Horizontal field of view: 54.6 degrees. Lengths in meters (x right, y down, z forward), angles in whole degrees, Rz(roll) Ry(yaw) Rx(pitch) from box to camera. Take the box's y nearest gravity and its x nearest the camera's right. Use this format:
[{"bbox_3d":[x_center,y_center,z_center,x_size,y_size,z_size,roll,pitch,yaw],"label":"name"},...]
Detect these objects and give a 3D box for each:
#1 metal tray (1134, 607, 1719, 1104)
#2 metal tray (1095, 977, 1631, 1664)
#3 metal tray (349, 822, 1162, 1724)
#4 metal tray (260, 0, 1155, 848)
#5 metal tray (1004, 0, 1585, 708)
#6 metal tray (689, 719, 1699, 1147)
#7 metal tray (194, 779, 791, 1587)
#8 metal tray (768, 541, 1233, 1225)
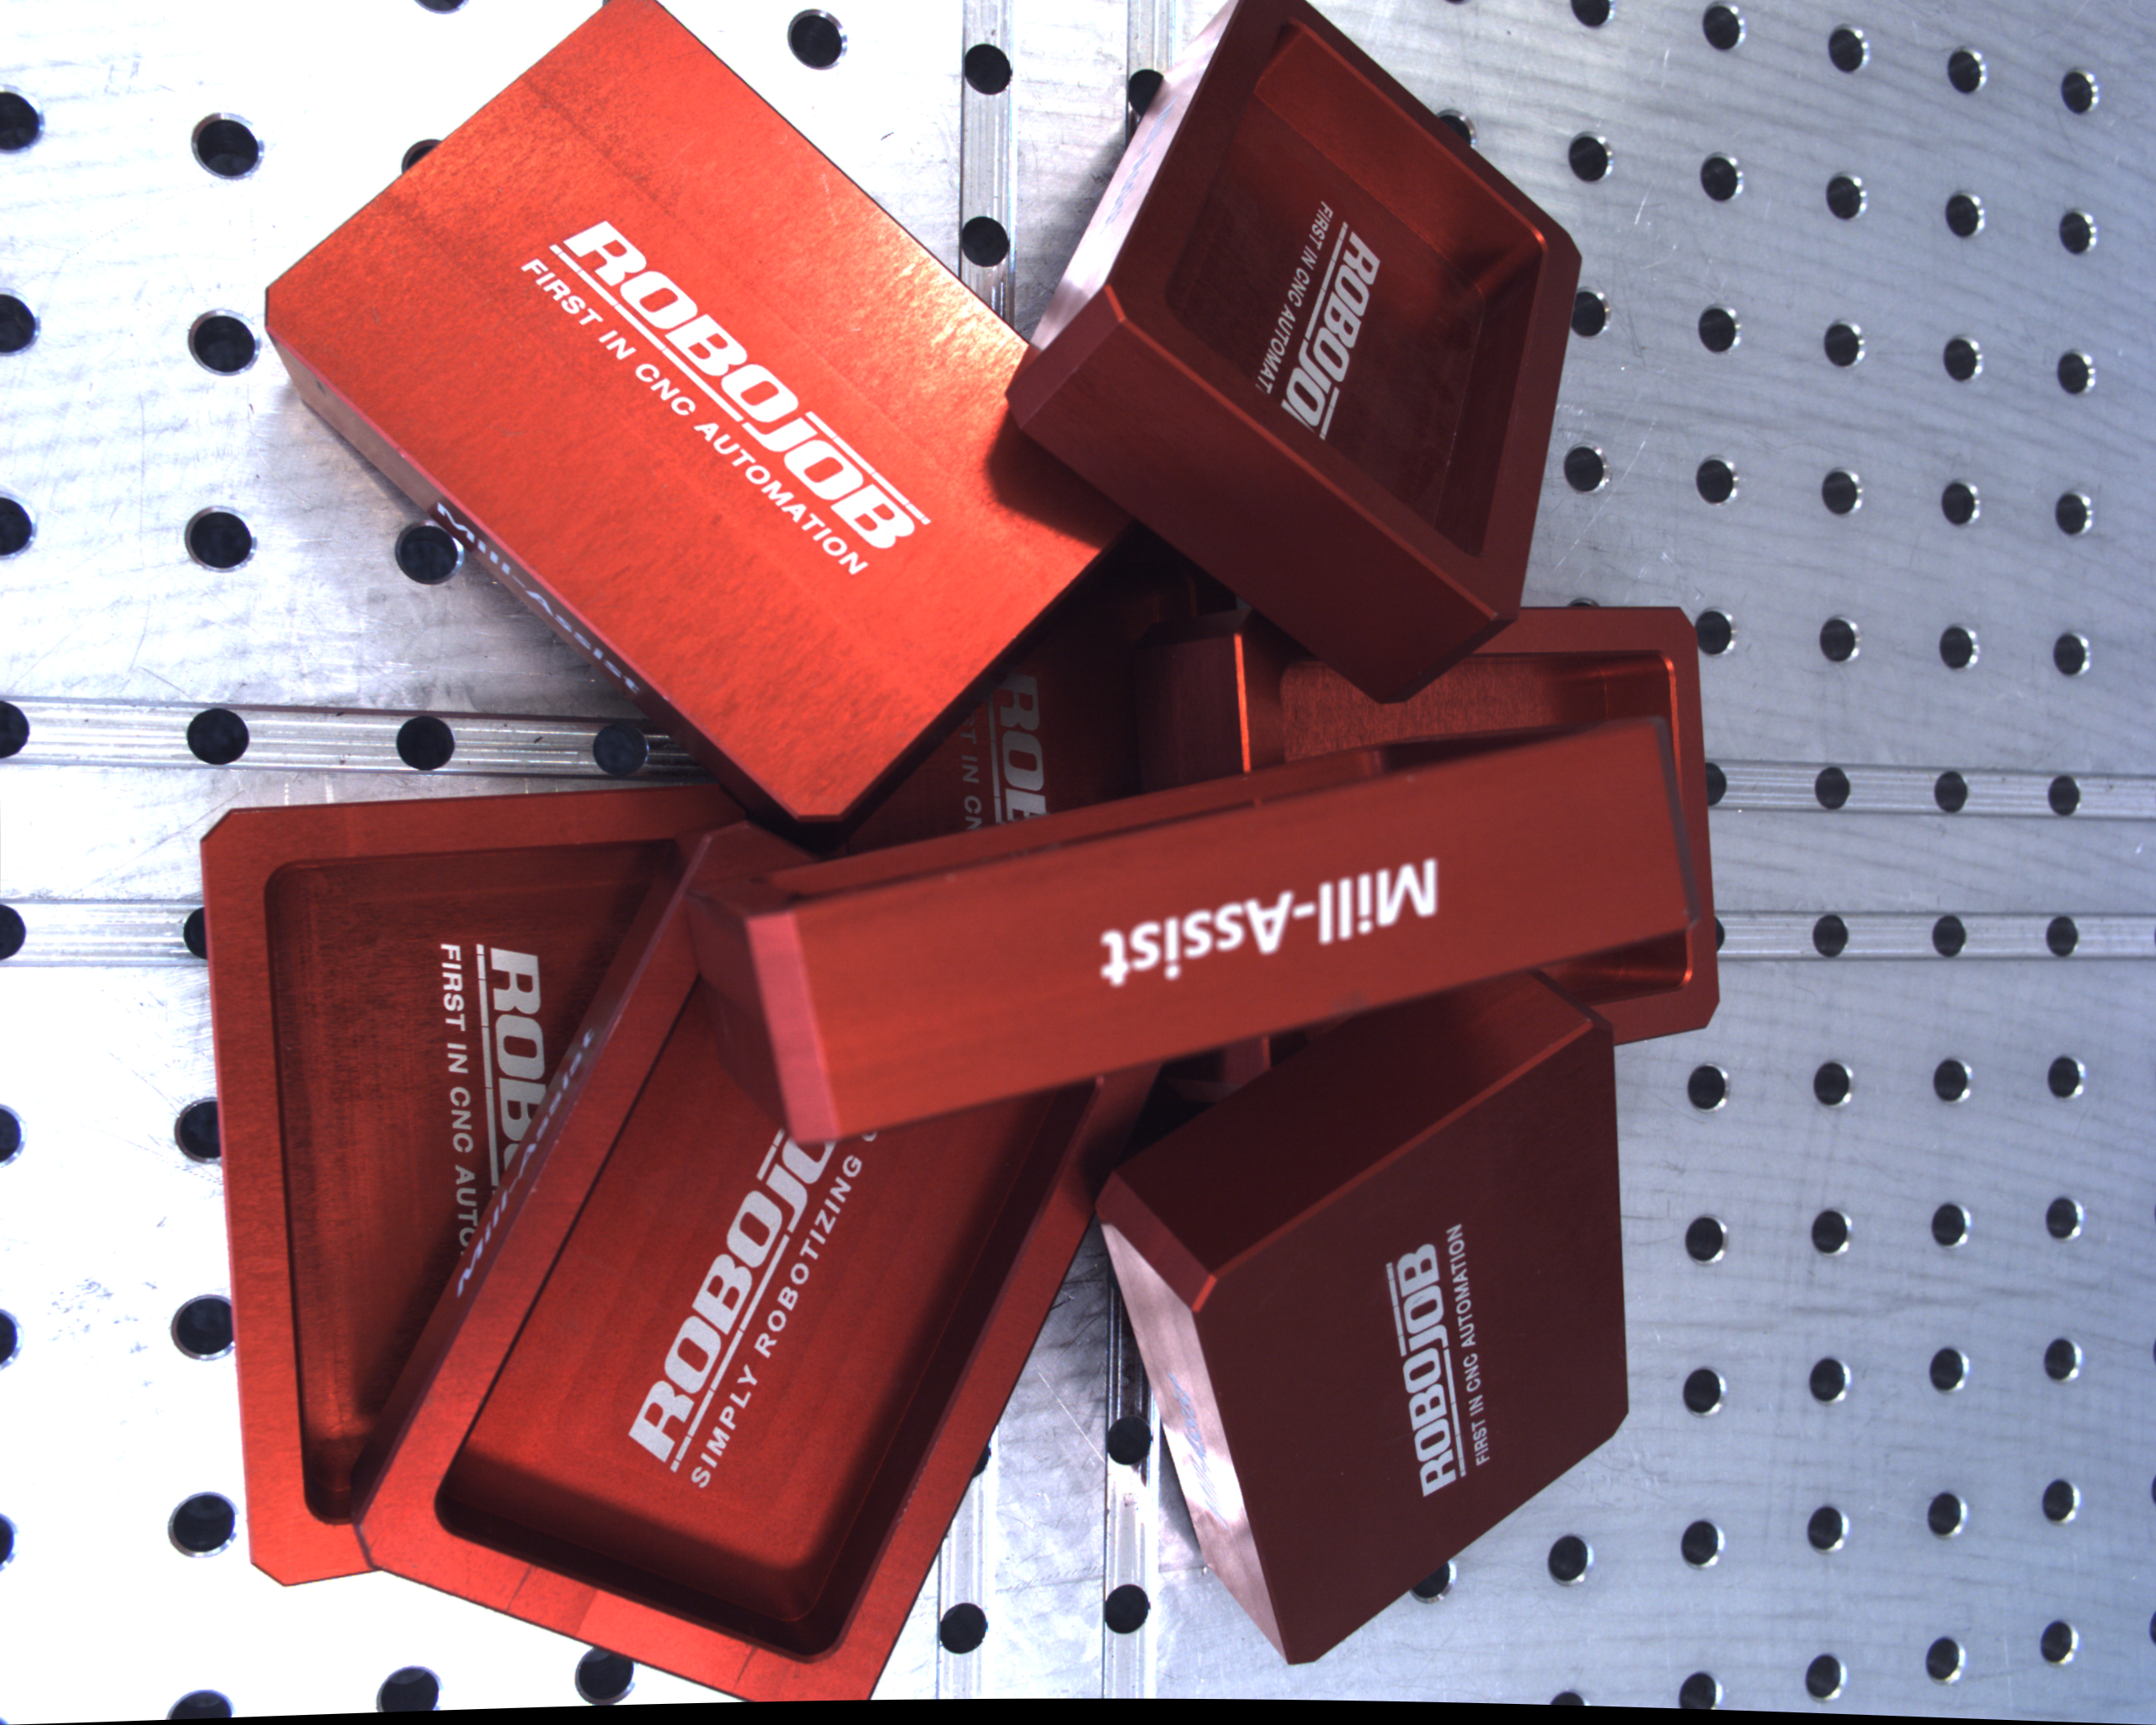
[{"bbox_3d":[0.074,-0.005,0.417,0.131,0.030,0.090,-5,92,-37],"label":"metal tray"},{"bbox_3d":[0.060,0.087,0.396,0.090,0.030,0.129,-30,133,-17],"label":"metal tray"},{"bbox_3d":[-0.053,0.069,0.358,0.090,0.030,0.130,28,81,-18],"label":"metal tray"},{"bbox_3d":[-0.063,-0.077,0.369,0.130,0.030,0.090,43,76,1],"label":"metal tray"},{"bbox_3d":[0.047,-0.101,0.391,0.090,0.030,0.130,35,46,-16],"label":"metal tray"},{"bbox_3d":[0.012,0.007,0.314,0.131,0.090,0.030,-12,94,-15],"label":"metal tray"},{"bbox_3d":[-0.103,0.053,0.372,0.091,0.030,0.129,-5,91,-21],"label":"metal tray"},{"bbox_3d":[-0.012,0.000,0.405,0.091,0.030,0.129,-5,90,-22],"label":"metal tray"}]
